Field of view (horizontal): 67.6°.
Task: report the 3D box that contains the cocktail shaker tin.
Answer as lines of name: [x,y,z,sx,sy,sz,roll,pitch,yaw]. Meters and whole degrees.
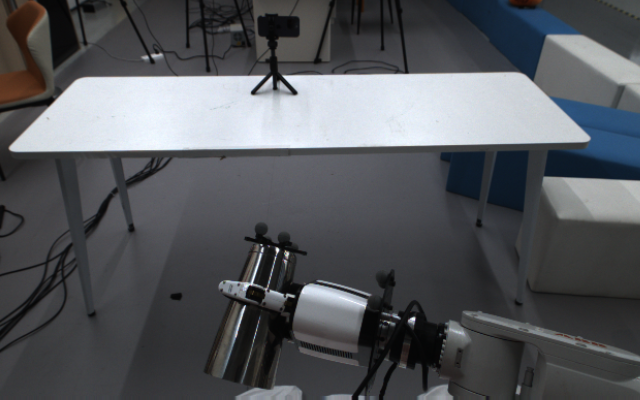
cocktail shaker tin: [-0.082,0.150,0.635,0.093,0.093,0.170,11,71,12]
